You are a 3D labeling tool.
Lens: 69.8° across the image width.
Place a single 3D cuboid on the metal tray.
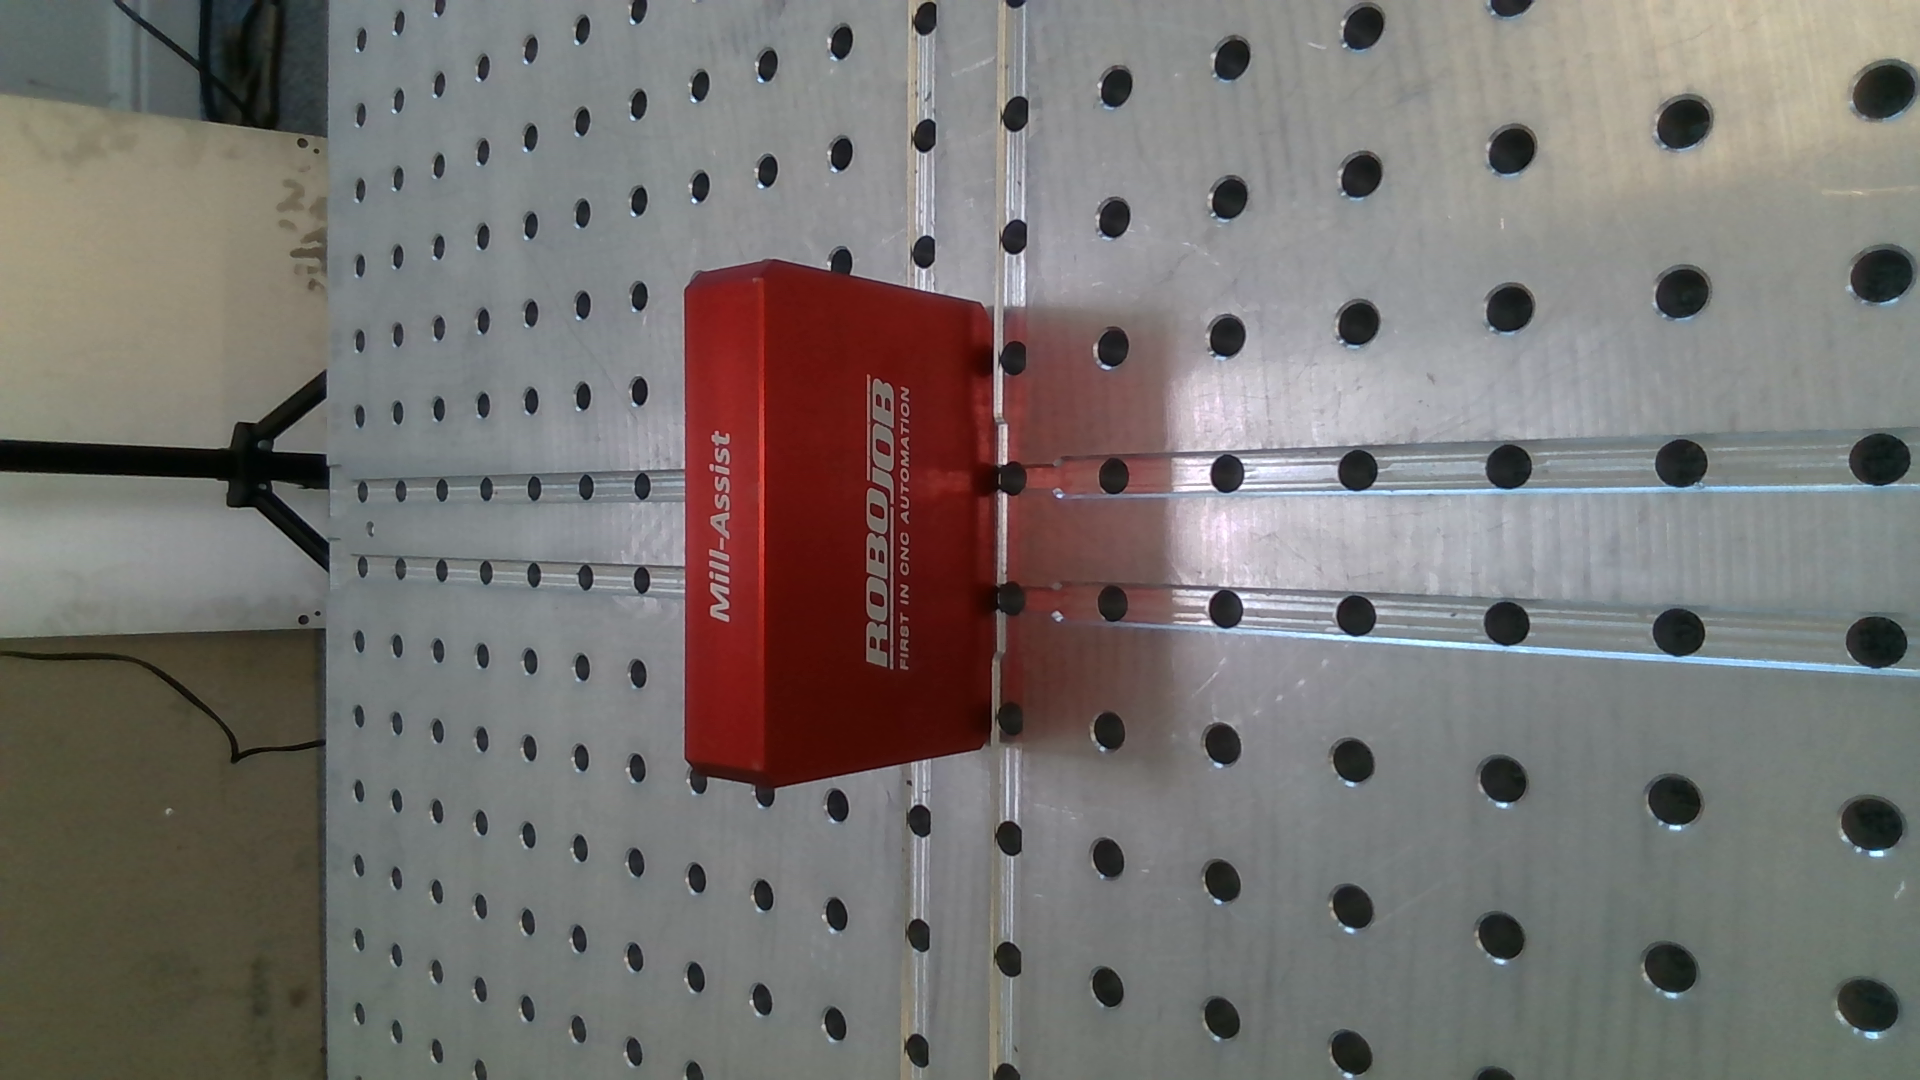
[{"bbox_3d":[-0.031,-0.004,0.377,0.030,0.090,0.130,0,91,40],"label":"metal tray"}]
